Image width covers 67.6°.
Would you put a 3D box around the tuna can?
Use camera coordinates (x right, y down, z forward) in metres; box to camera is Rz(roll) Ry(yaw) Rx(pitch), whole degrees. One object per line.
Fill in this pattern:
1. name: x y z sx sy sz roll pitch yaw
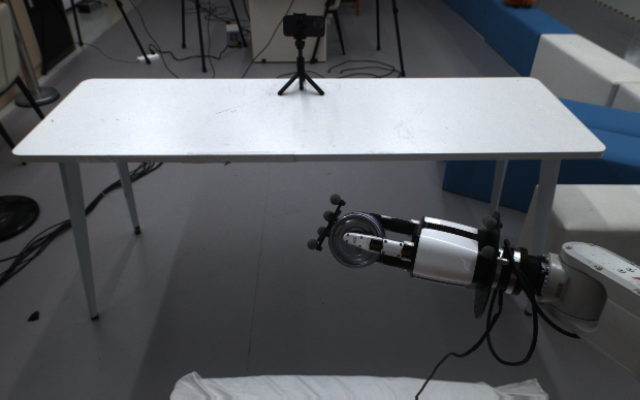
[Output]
1. tuna can: 0.059 0.060 0.745 0.085 0.085 0.034 9 4 10
